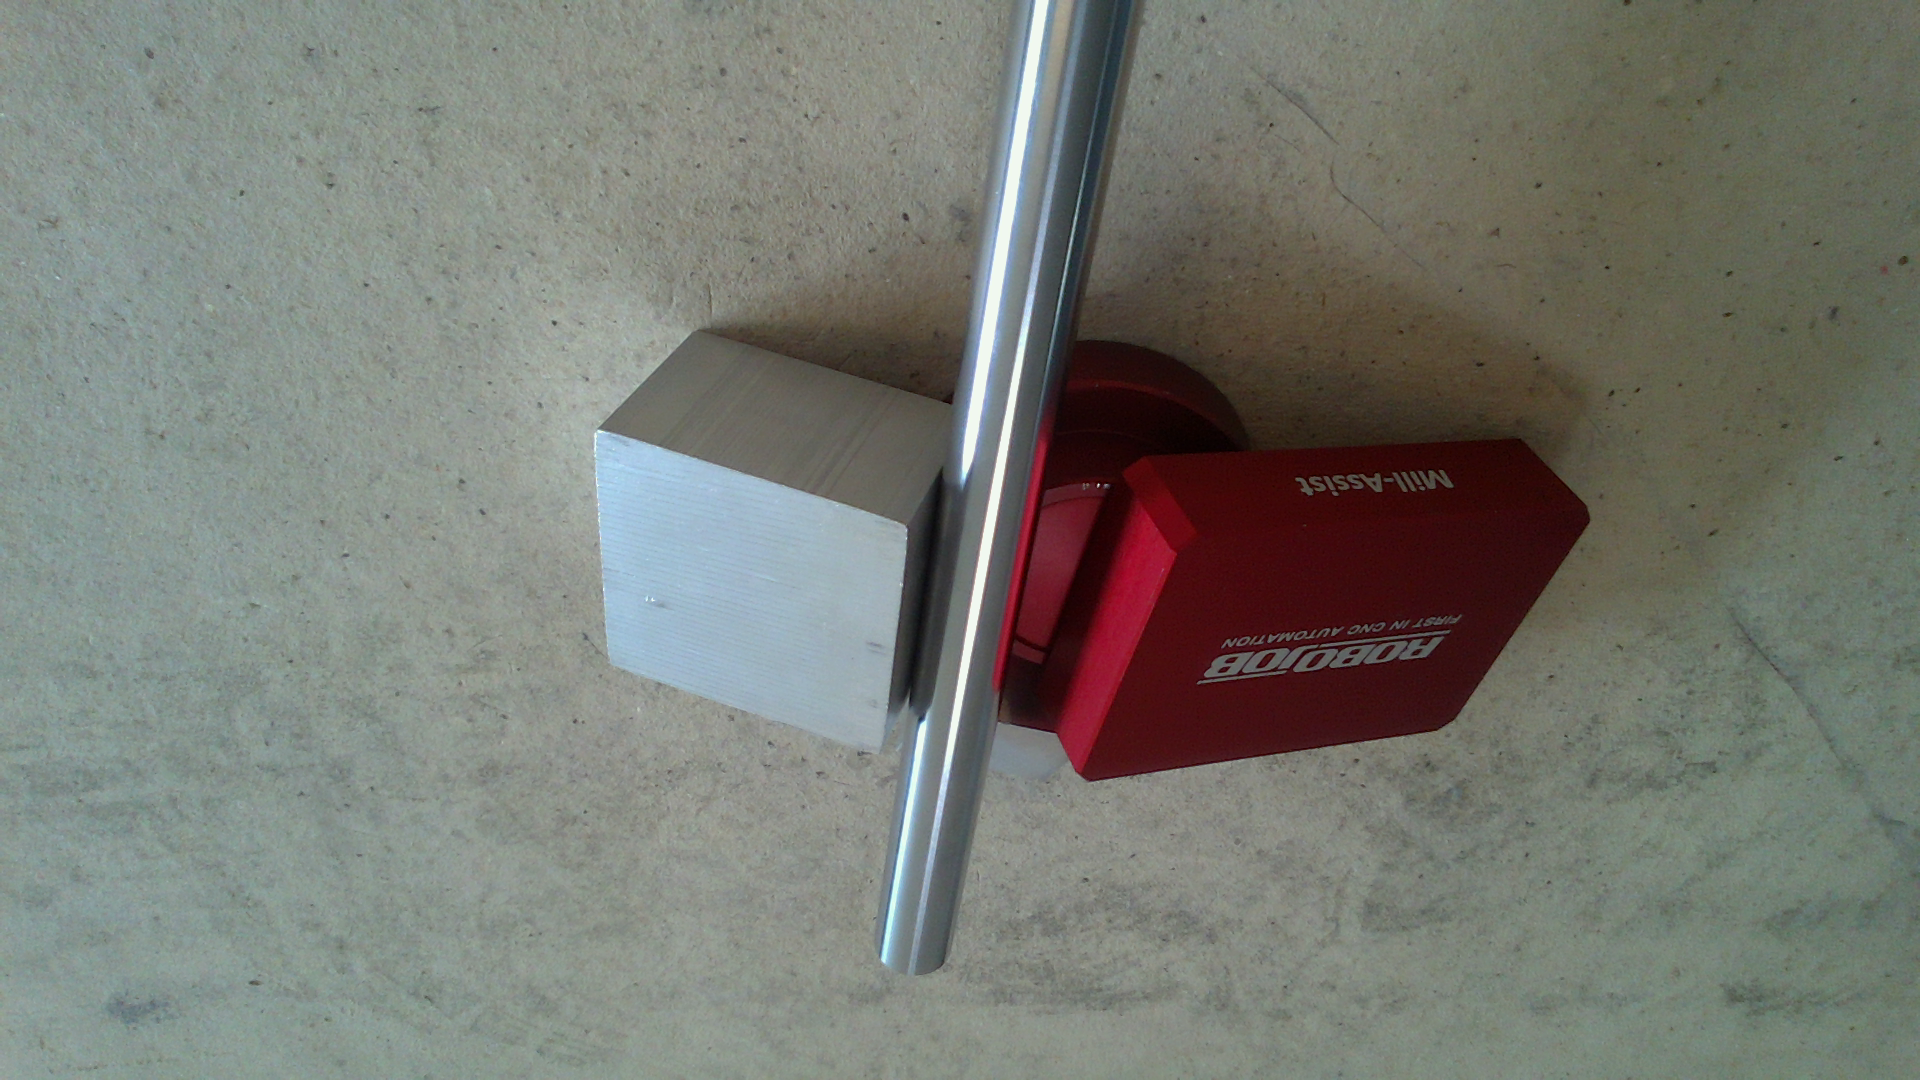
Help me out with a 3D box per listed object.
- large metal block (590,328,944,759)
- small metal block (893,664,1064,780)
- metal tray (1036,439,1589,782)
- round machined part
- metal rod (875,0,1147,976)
[{"bbox_3d":[-0.046,0.001,0.361,0.080,0.050,0.080,17,130,9],"label":"large metal block"},{"bbox_3d":[0.010,0.052,0.422,0.050,0.025,0.050,12,155,-10],"label":"small metal block"},{"bbox_3d":[0.094,0.019,0.375,0.130,0.030,0.090,-4,134,-24],"label":"metal tray"},{"bbox_3d":[0.035,-0.002,0.378,0.098,0.042,0.098,0,130,0],"label":"round machined part"},{"bbox_3d":[0.004,0.010,0.345,0.025,0.025,0.300,6,128,-5],"label":"metal rod"}]
